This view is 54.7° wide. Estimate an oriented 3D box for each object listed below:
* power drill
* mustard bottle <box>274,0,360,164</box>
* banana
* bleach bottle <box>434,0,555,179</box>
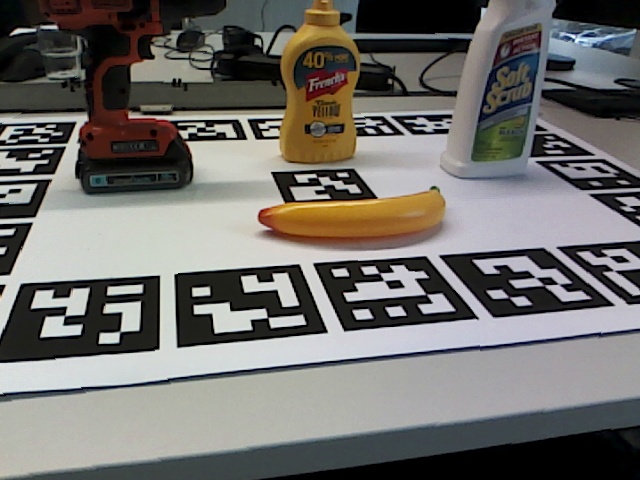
[{"bbox_3d":[-0.173,-0.184,0.642,0.184,0.186,0.058,-9,31,-15],"label":"power drill"},{"bbox_3d":[-0.001,-0.189,0.736,0.096,0.191,0.059,-6,30,-20],"label":"mustard bottle"},{"bbox_3d":[0.038,-0.029,0.583,0.197,0.039,0.074,-8,32,-15],"label":"banana"},{"bbox_3d":[0.201,-0.196,0.705,0.102,0.250,0.068,1,28,-5],"label":"bleach bottle"}]
